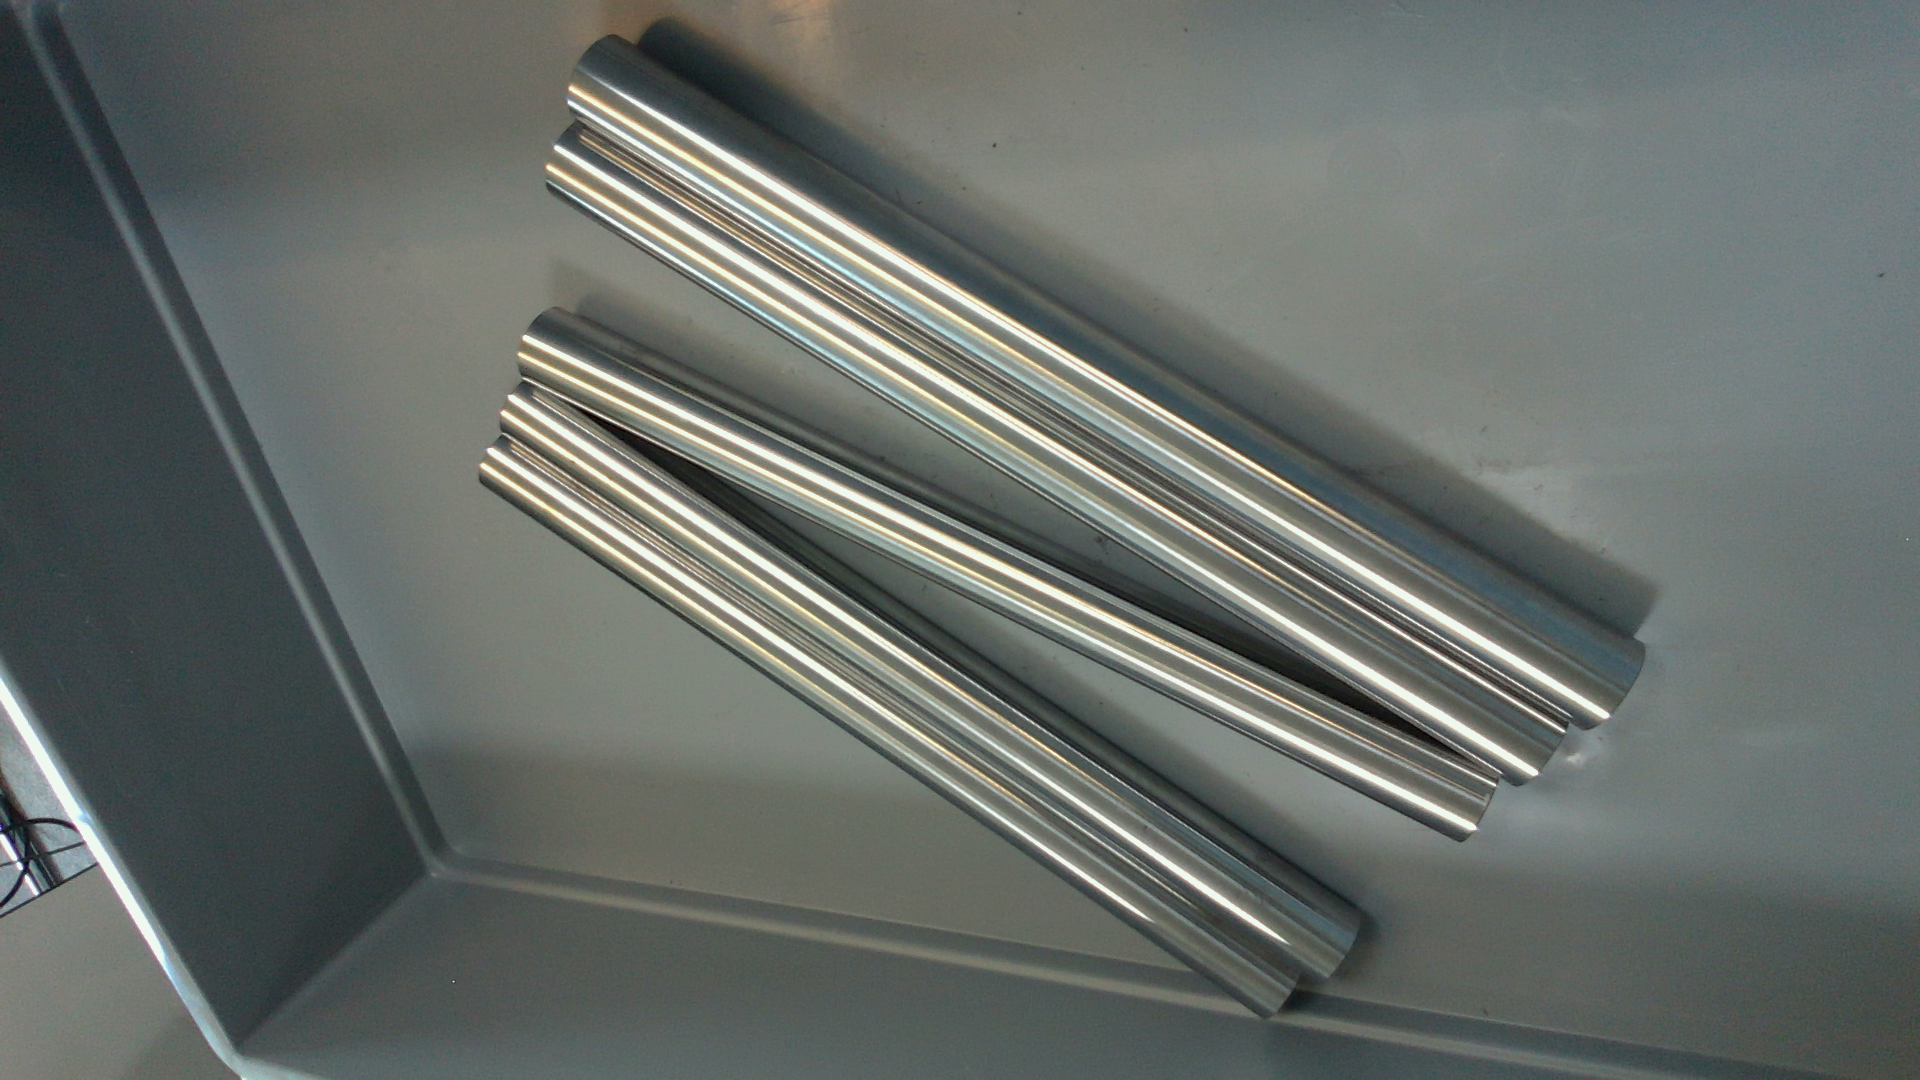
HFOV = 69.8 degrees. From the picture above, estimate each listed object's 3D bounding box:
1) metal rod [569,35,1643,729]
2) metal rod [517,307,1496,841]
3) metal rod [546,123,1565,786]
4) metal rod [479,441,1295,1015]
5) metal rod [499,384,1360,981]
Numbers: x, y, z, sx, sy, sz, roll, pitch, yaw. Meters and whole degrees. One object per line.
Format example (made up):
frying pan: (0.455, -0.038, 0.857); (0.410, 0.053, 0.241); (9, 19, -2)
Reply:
metal rod: (0.030, -0.044, 0.349); (0.300, 0.025, 0.025); (32, 129, 7)
metal rod: (0.004, 0.004, 0.392); (0.300, 0.025, 0.025); (26, 128, 12)
metal rod: (0.019, -0.028, 0.364); (0.300, 0.025, 0.025); (32, 129, 7)
metal rod: (-0.026, 0.053, 0.438); (0.300, 0.025, 0.025); (33, 129, 6)
metal rod: (-0.014, 0.038, 0.423); (0.300, 0.025, 0.025); (33, 129, 6)
